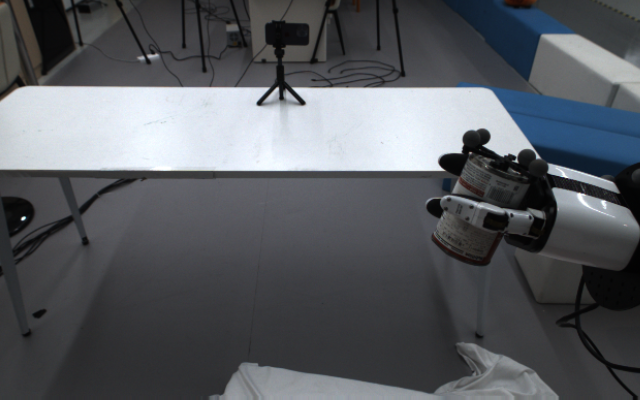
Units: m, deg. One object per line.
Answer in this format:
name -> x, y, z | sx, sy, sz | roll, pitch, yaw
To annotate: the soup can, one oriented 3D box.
soup can -> 0.171, 0.008, 0.514 | 0.067, 0.101, 0.067 | 17, 21, -7
